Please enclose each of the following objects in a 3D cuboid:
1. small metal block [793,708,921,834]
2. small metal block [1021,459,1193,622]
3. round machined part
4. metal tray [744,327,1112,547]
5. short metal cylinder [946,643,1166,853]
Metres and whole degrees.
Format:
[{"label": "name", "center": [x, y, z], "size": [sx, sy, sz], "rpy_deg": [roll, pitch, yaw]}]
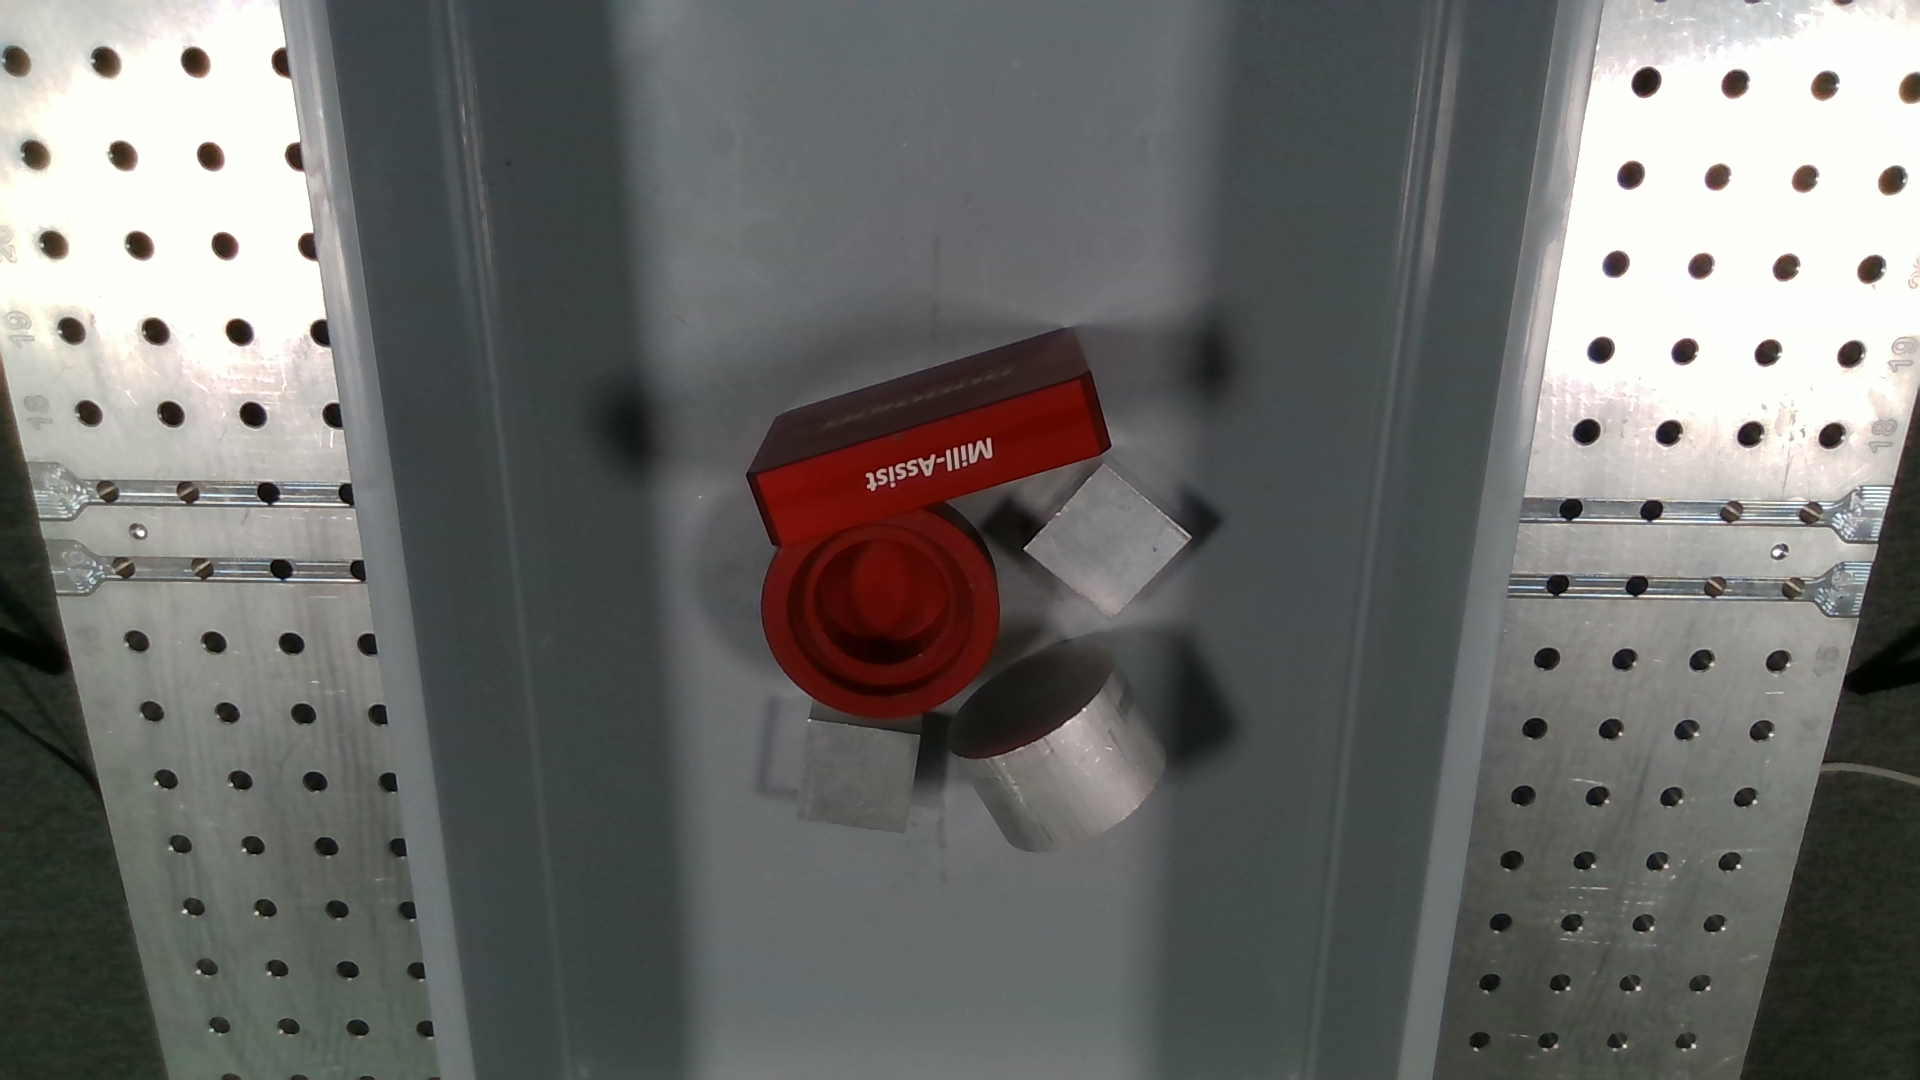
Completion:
[{"label": "small metal block", "center": [-0.046, 0.101, 0.621], "size": [0.050, 0.025, 0.050], "rpy_deg": [8, 109, -4]}, {"label": "small metal block", "center": [0.061, -0.003, 0.582], "size": [0.050, 0.025, 0.050], "rpy_deg": [39, 104, -12]}, {"label": "round machined part", "center": [-0.033, 0.023, 0.581], "size": [0.098, 0.042, 0.098], "rpy_deg": [0, 110, 0]}, {"label": "metal tray", "center": [-0.012, -0.042, 0.533], "size": [0.130, 0.090, 0.030], "rpy_deg": [-16, 109, 6]}, {"label": "short metal cylinder", "center": [0.041, 0.087, 0.586], "size": [0.080, 0.080, 0.050], "rpy_deg": [-28, 108, 10]}]
